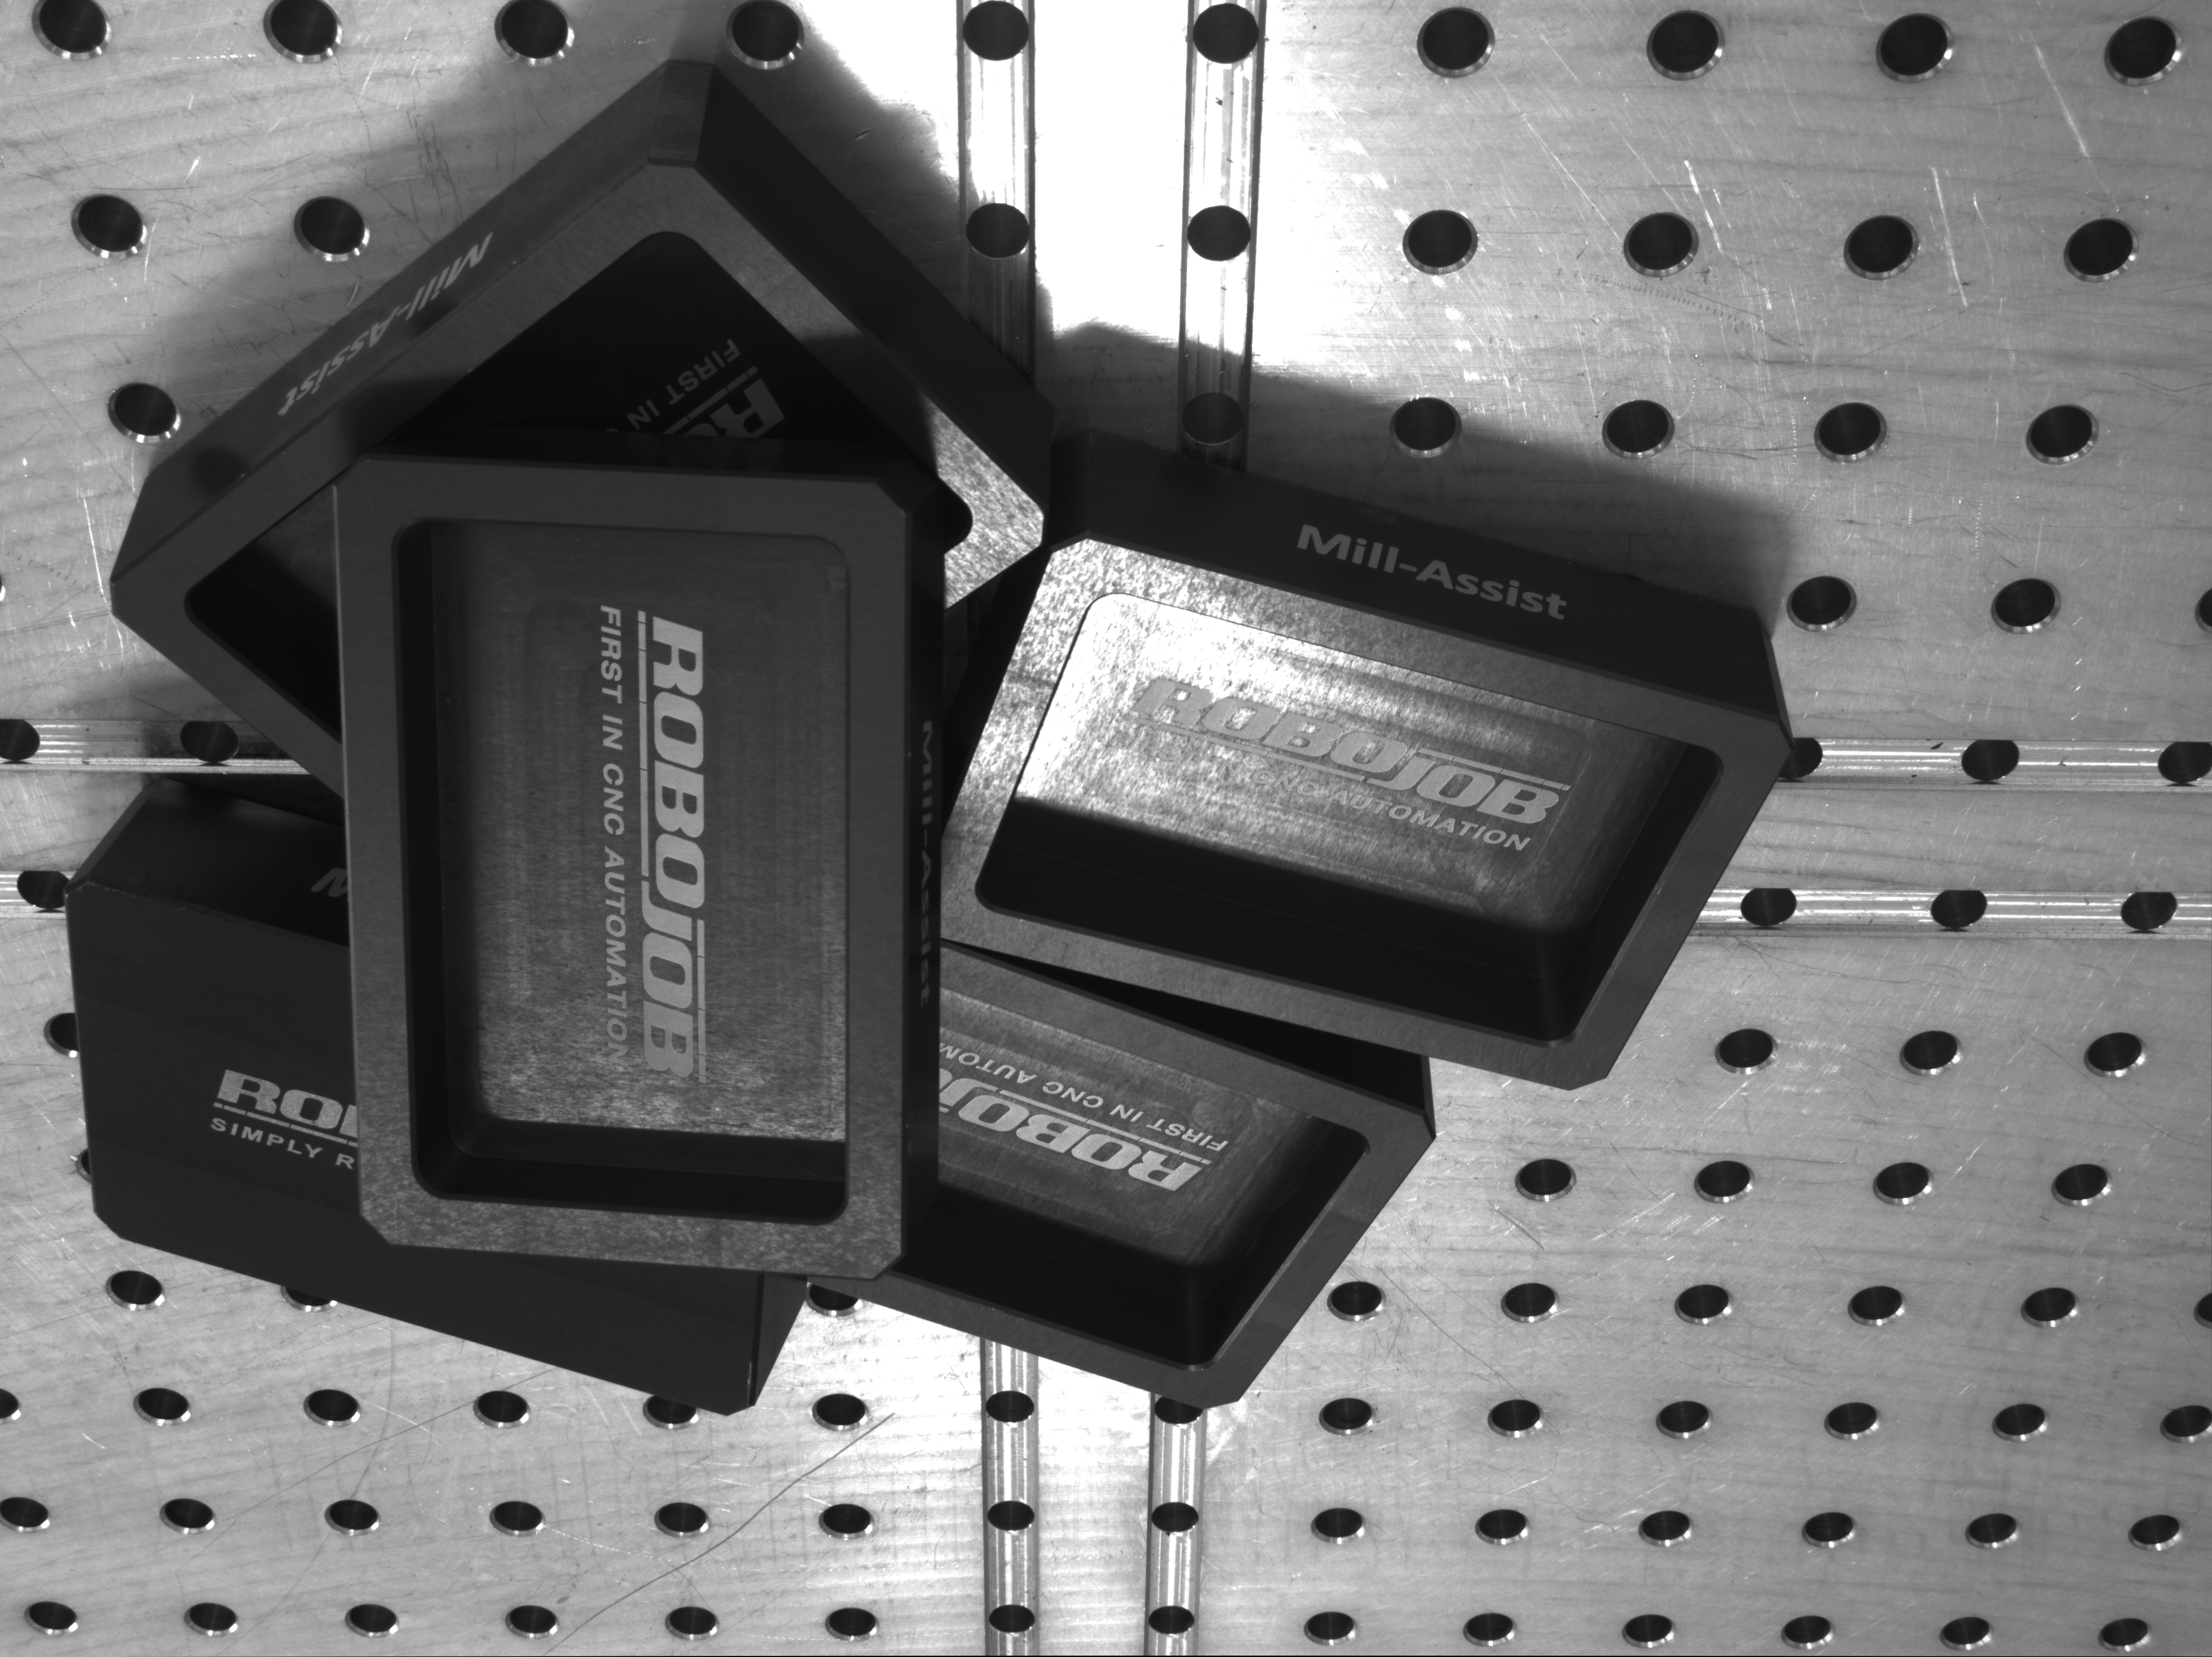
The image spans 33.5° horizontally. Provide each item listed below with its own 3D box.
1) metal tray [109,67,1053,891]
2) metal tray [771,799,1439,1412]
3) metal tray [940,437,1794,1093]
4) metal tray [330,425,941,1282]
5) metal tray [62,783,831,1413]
[{"bbox_3d":[-0.084,-0.051,0.595,0.130,0.030,0.090,-33,122,24],"label":"metal tray"},{"bbox_3d":[-0.015,0.054,0.684,0.130,0.030,0.090,20,128,-16],"label":"metal tray"},{"bbox_3d":[0.040,-0.008,0.631,0.130,0.030,0.090,14,129,-12],"label":"metal tray"},{"bbox_3d":[-0.074,0.004,0.587,0.090,0.030,0.130,3,106,7],"label":"metal tray"},{"bbox_3d":[-0.118,0.049,0.659,0.130,0.030,0.090,14,131,6],"label":"metal tray"}]
